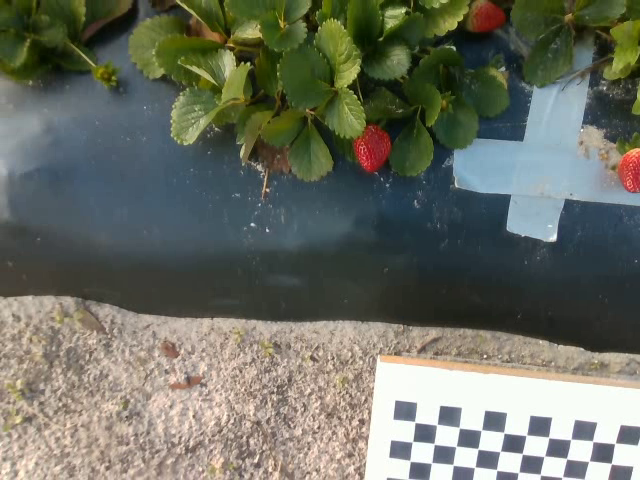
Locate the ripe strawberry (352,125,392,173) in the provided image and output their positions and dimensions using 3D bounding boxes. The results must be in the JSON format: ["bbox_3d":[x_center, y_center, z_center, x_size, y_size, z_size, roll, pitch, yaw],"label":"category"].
[{"bbox_3d":[0.023,-0.039,0.258,0.018,0.023,0.020,1,-16,21],"label":"ripe strawberry"}]
